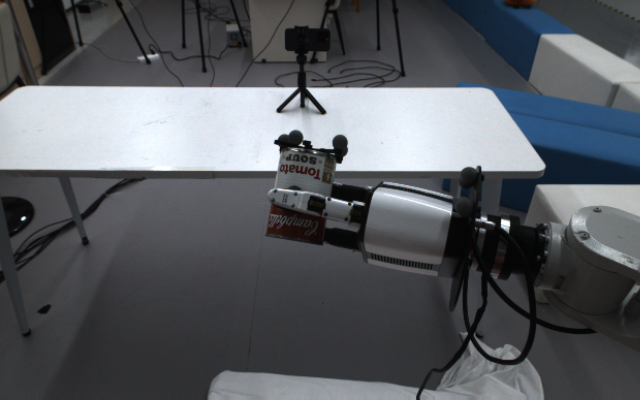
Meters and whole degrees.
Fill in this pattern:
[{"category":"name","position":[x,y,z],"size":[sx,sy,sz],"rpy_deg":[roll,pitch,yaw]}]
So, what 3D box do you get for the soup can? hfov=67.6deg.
[{"category":"soup can","position":[-0.020,-0.004,0.559],"size":[0.067,0.101,0.067],"rpy_deg":[9,-5,1]}]
